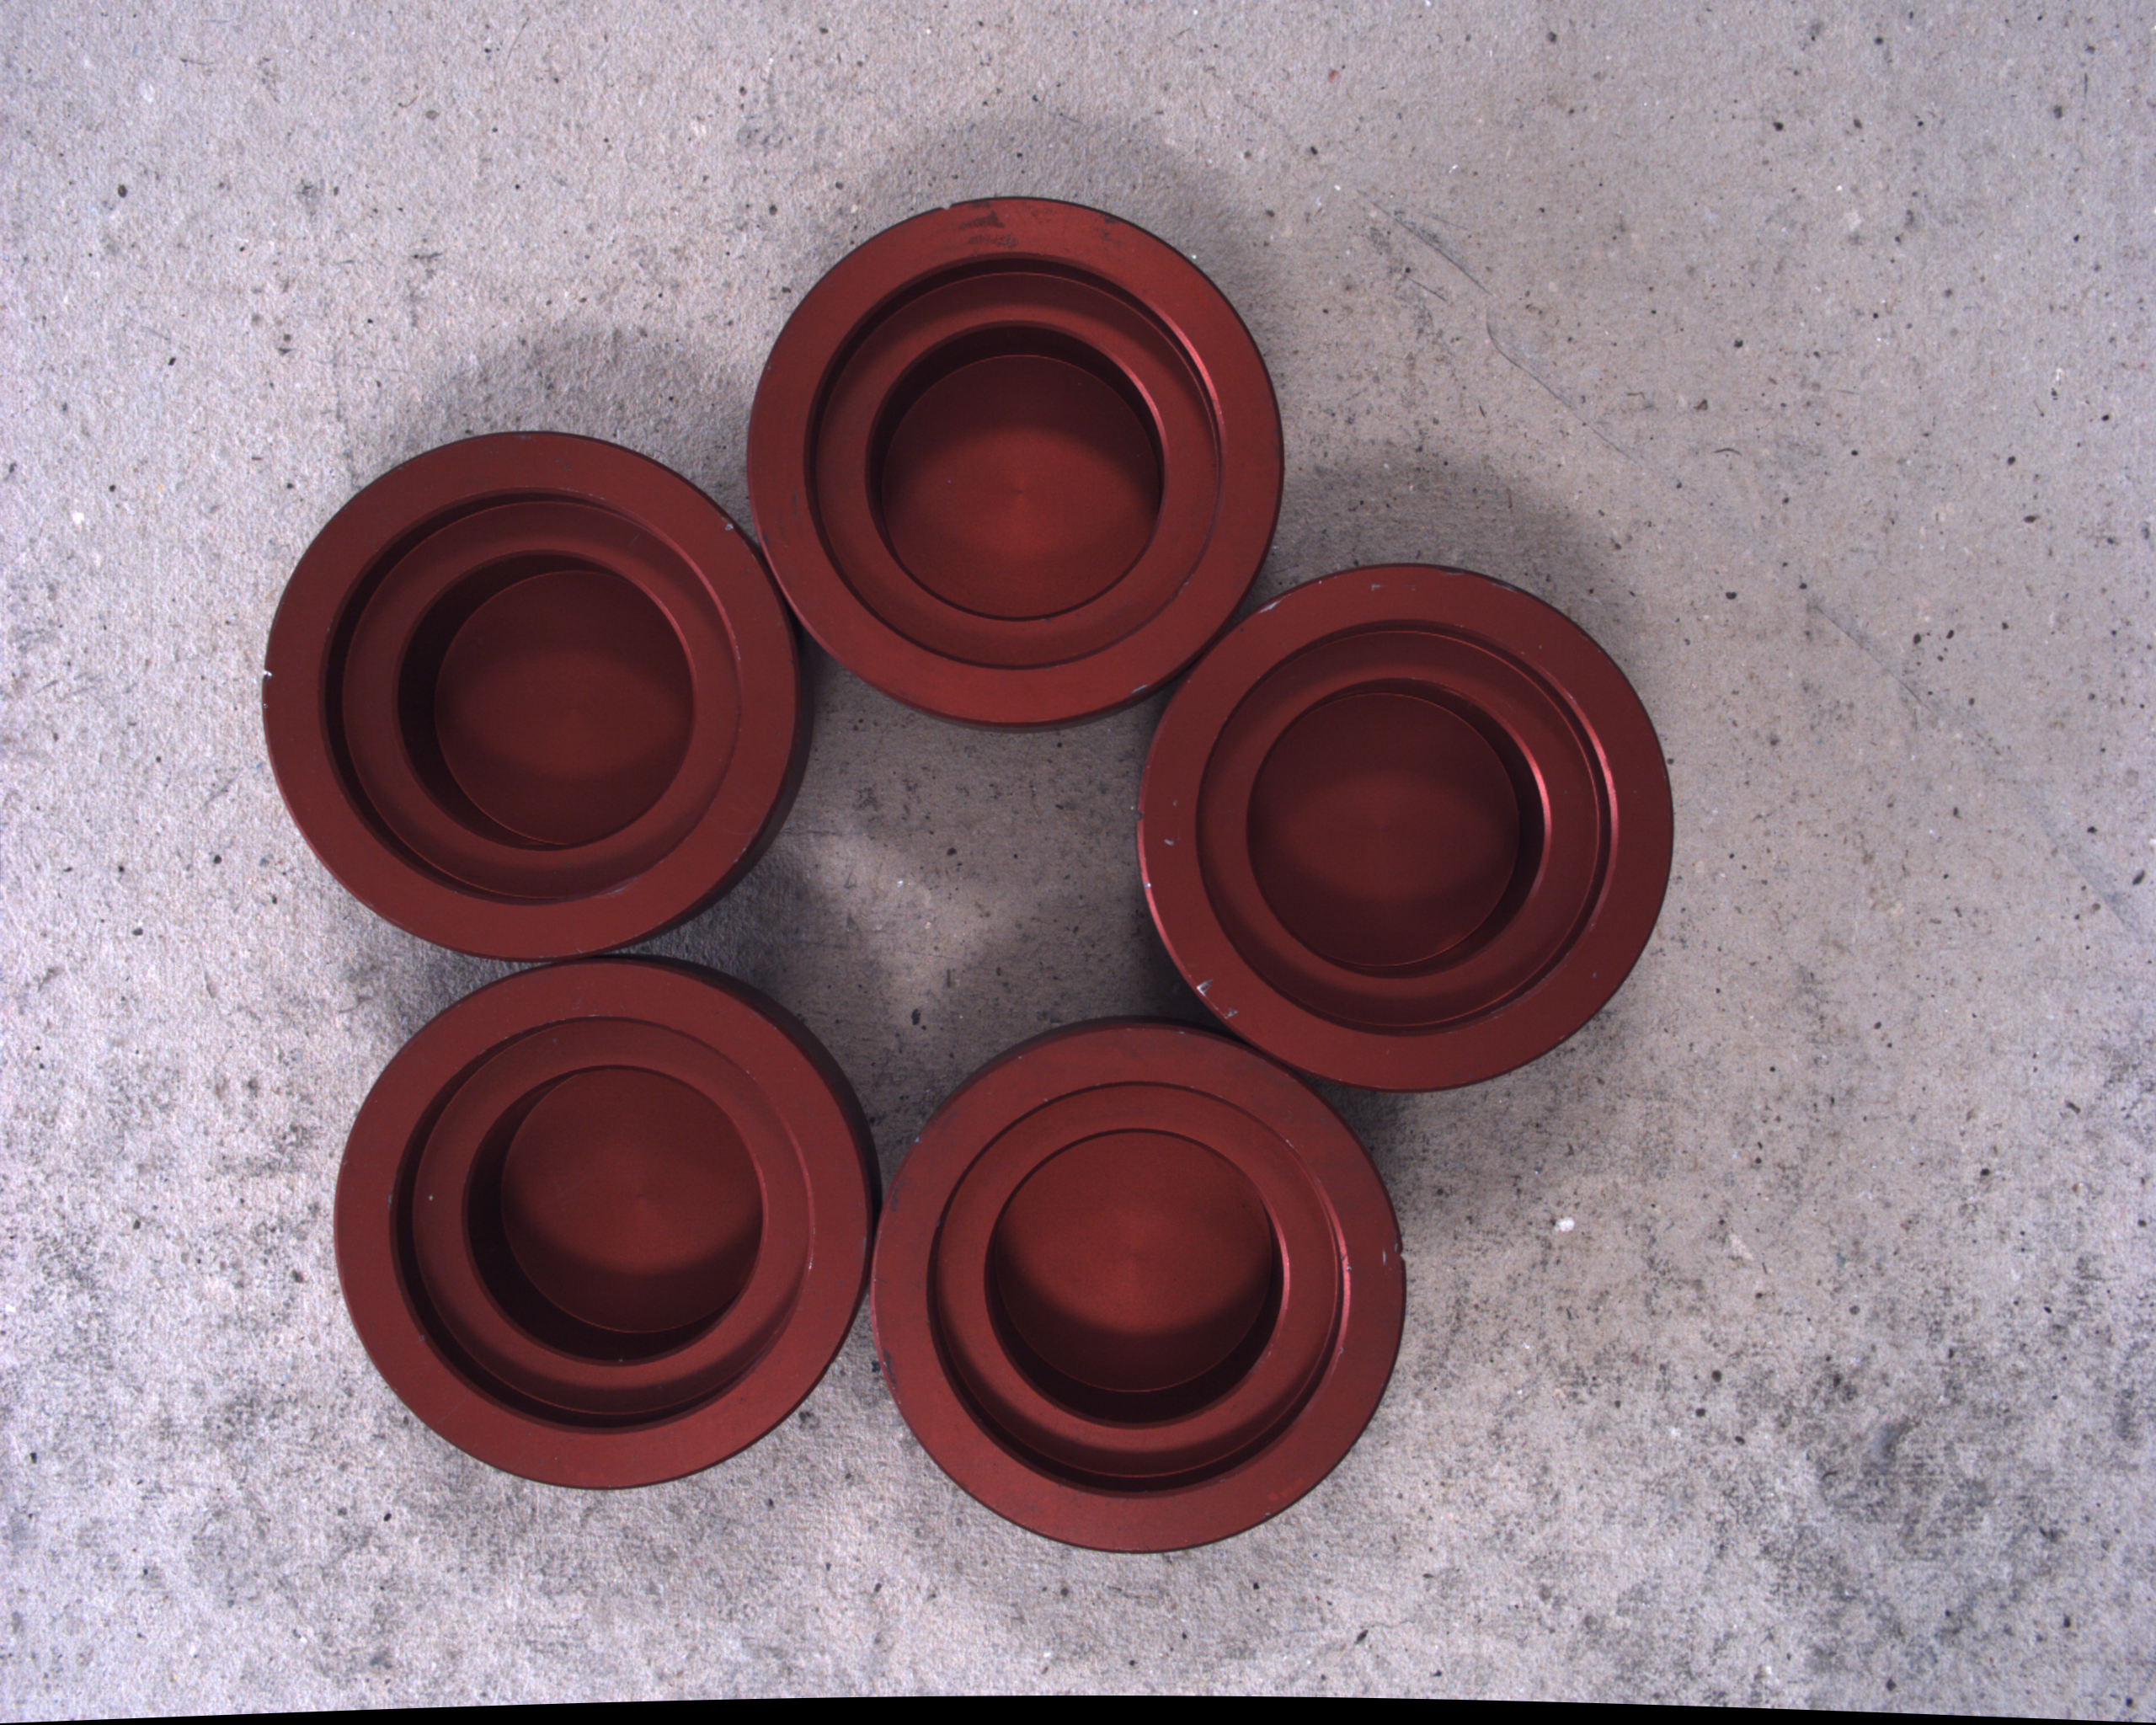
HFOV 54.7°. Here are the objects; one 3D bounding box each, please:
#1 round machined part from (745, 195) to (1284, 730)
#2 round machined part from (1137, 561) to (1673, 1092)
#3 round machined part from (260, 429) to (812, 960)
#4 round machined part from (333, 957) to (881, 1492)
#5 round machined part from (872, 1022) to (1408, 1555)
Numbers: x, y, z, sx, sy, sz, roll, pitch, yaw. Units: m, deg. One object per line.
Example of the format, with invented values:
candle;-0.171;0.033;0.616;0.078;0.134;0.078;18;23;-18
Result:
round machined part;-0.012;-0.074;0.401;0.099;0.042;0.097;0;89;-1
round machined part;0.060;-0.006;0.402;0.099;0.042;0.097;0;89;-1
round machined part;-0.100;-0.031;0.402;0.099;0.042;0.097;0;89;-1
round machined part;-0.087;0.066;0.401;0.099;0.042;0.097;0;89;-1
round machined part;0.011;0.078;0.403;0.099;0.042;0.097;0;89;-1
